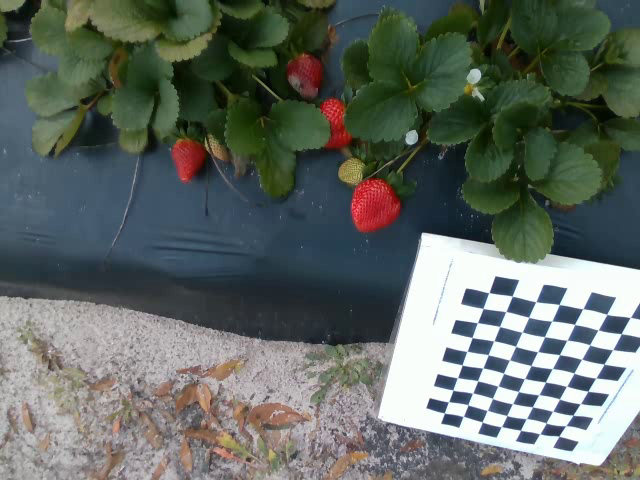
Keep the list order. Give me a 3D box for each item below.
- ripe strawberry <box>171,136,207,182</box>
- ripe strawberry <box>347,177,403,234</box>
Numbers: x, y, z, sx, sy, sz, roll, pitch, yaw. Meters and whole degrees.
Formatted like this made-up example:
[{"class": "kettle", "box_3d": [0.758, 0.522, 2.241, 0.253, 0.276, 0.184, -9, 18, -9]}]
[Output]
[{"class": "ripe strawberry", "box_3d": [-0.139, -0.086, 0.674, 0.043, 0.052, 0.041, -2, -8, 20]}, {"class": "ripe strawberry", "box_3d": [0.052, -0.030, 0.659, 0.057, 0.065, 0.056, -11, -52, 43]}]
